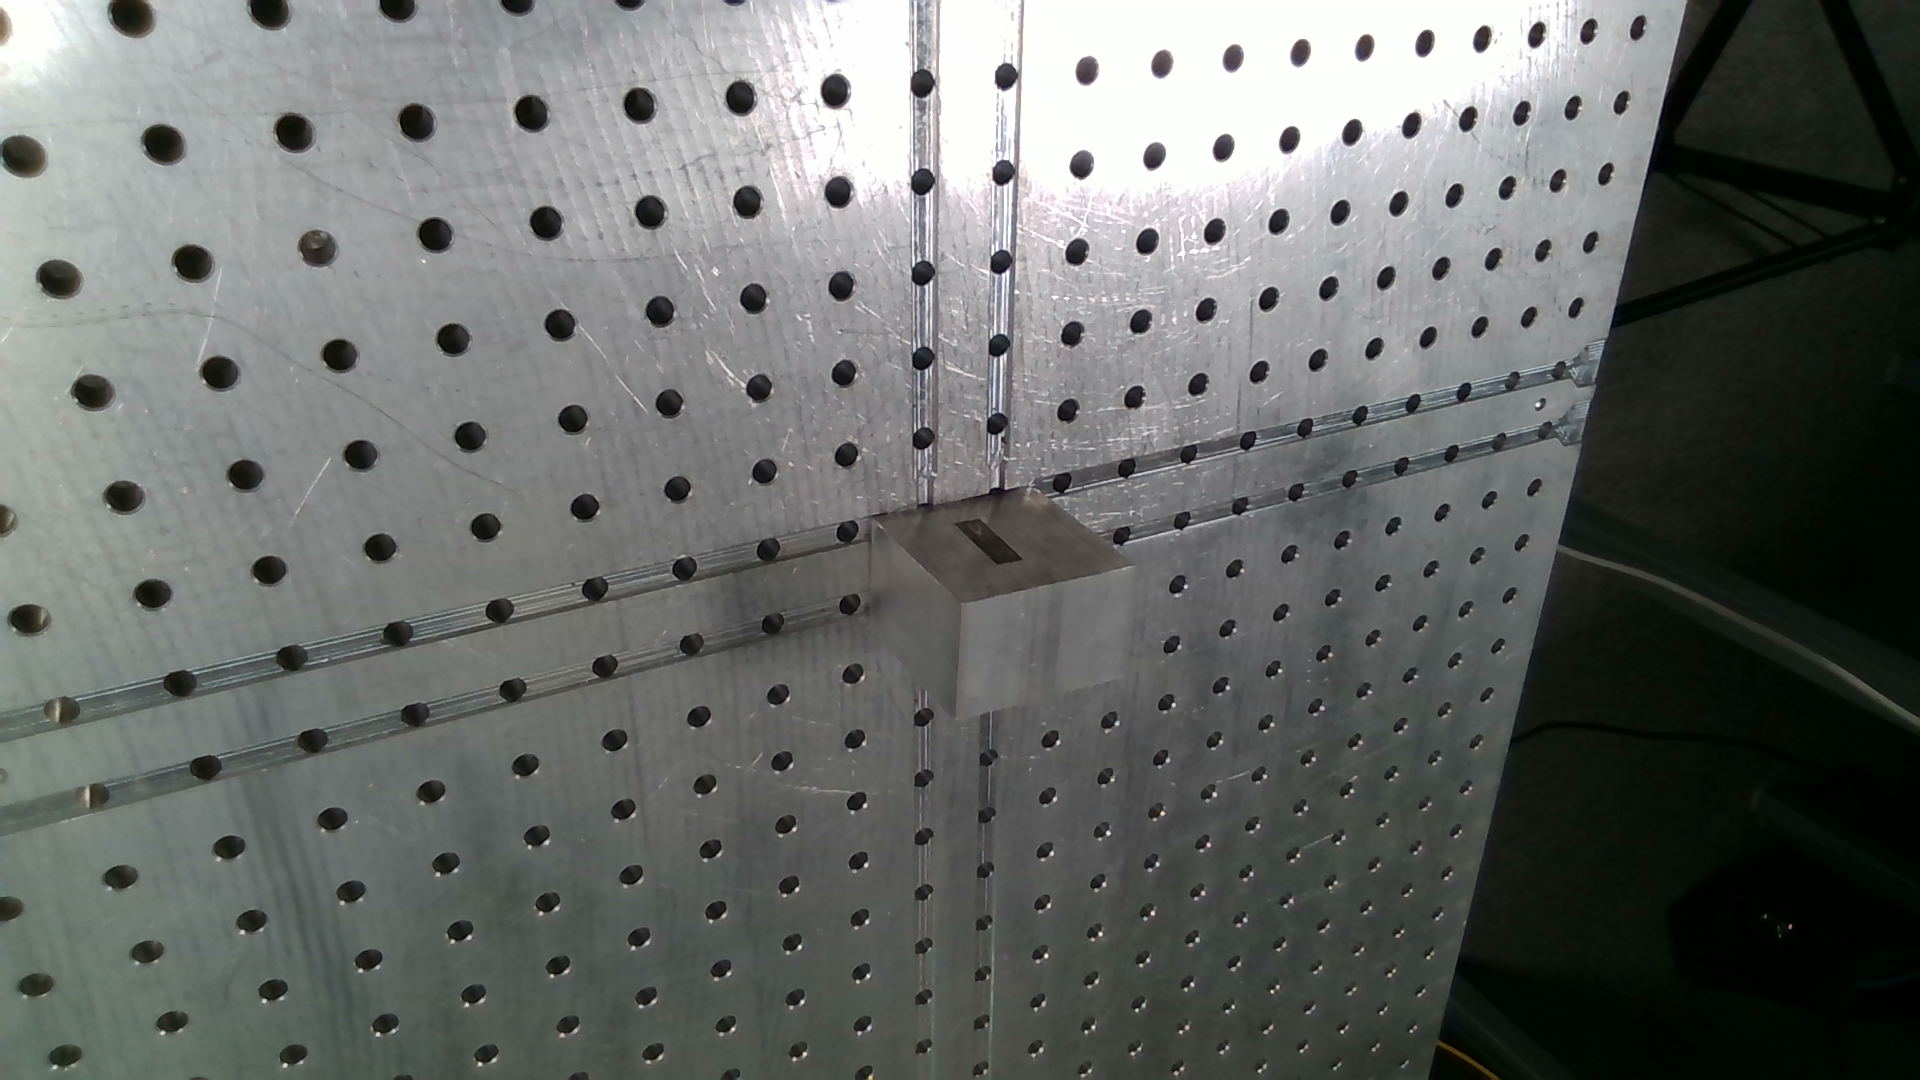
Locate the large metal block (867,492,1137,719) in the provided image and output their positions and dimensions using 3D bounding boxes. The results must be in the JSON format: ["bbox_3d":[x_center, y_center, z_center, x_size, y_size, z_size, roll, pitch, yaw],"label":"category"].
[{"bbox_3d":[0.015,0.024,0.569,0.080,0.080,0.050,-11,120,-27],"label":"large metal block"}]
